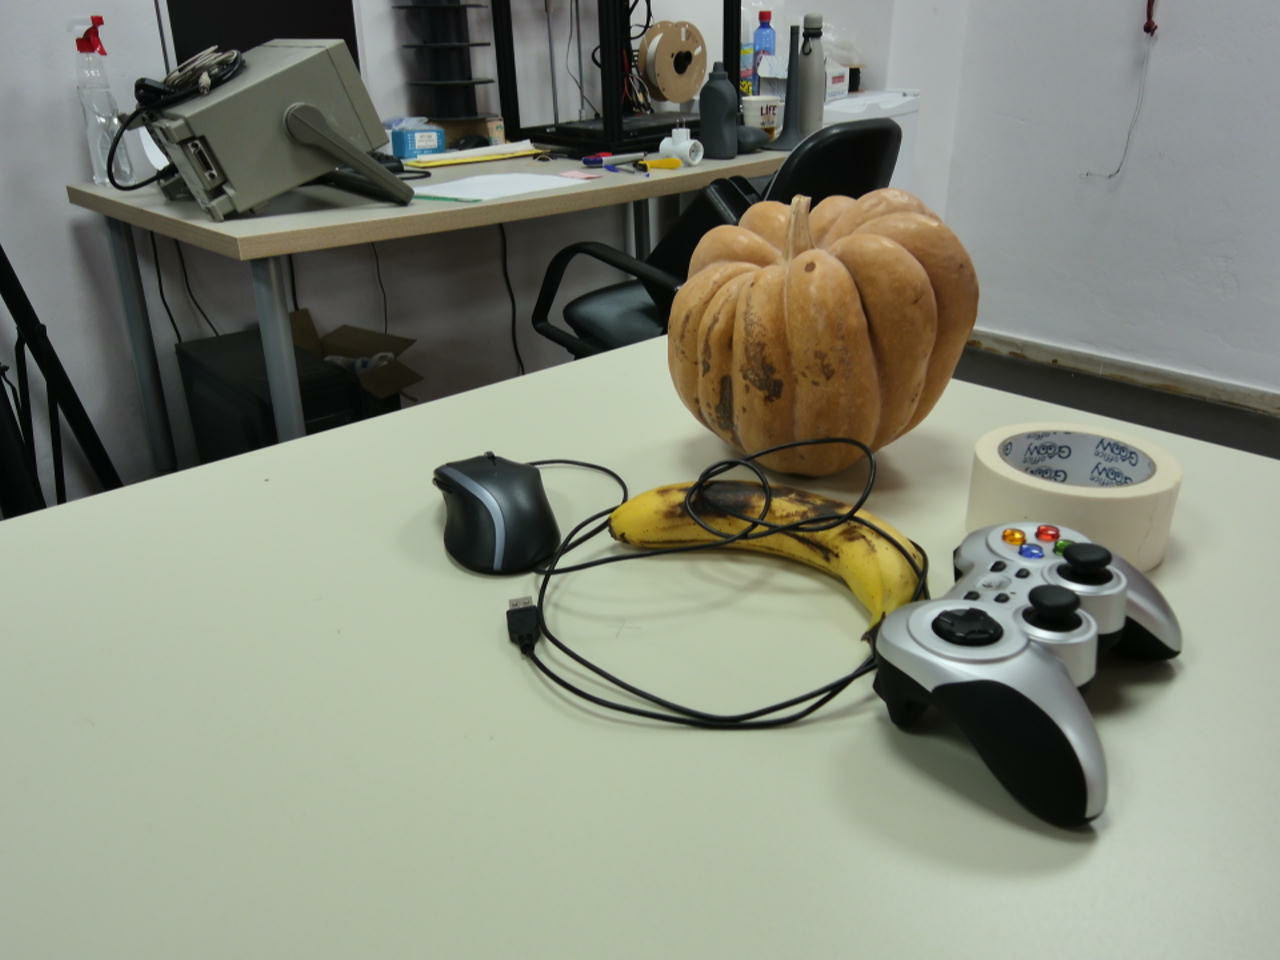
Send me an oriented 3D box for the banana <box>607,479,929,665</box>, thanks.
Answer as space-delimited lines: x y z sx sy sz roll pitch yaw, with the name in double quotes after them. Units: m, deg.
0.076 0.035 0.534 0.094 0.039 0.187 -21 30 -39 "banana"
